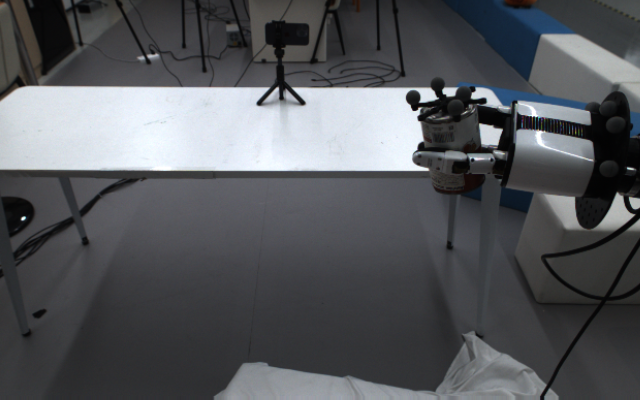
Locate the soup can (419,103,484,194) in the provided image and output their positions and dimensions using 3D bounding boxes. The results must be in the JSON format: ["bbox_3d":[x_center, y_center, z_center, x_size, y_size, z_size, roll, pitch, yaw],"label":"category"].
[{"bbox_3d":[0.164,-0.068,0.593,0.067,0.101,0.067,-13,31,8],"label":"soup can"}]
